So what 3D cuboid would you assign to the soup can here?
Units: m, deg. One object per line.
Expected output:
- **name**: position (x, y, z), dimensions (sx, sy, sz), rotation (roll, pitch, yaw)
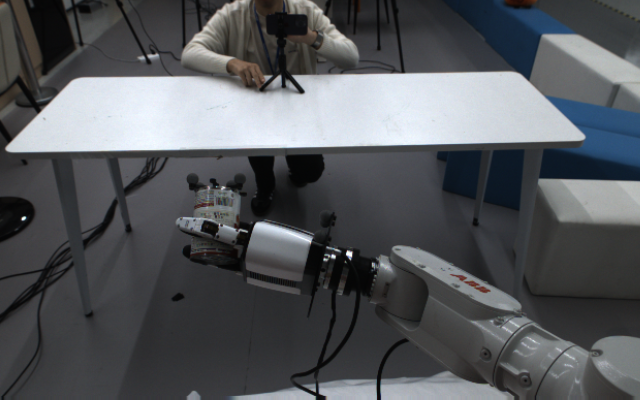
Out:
- **soup can**: position (-0.150, 0.039, 0.696), dimensions (0.067, 0.067, 0.101), rotation (1, 73, -2)
